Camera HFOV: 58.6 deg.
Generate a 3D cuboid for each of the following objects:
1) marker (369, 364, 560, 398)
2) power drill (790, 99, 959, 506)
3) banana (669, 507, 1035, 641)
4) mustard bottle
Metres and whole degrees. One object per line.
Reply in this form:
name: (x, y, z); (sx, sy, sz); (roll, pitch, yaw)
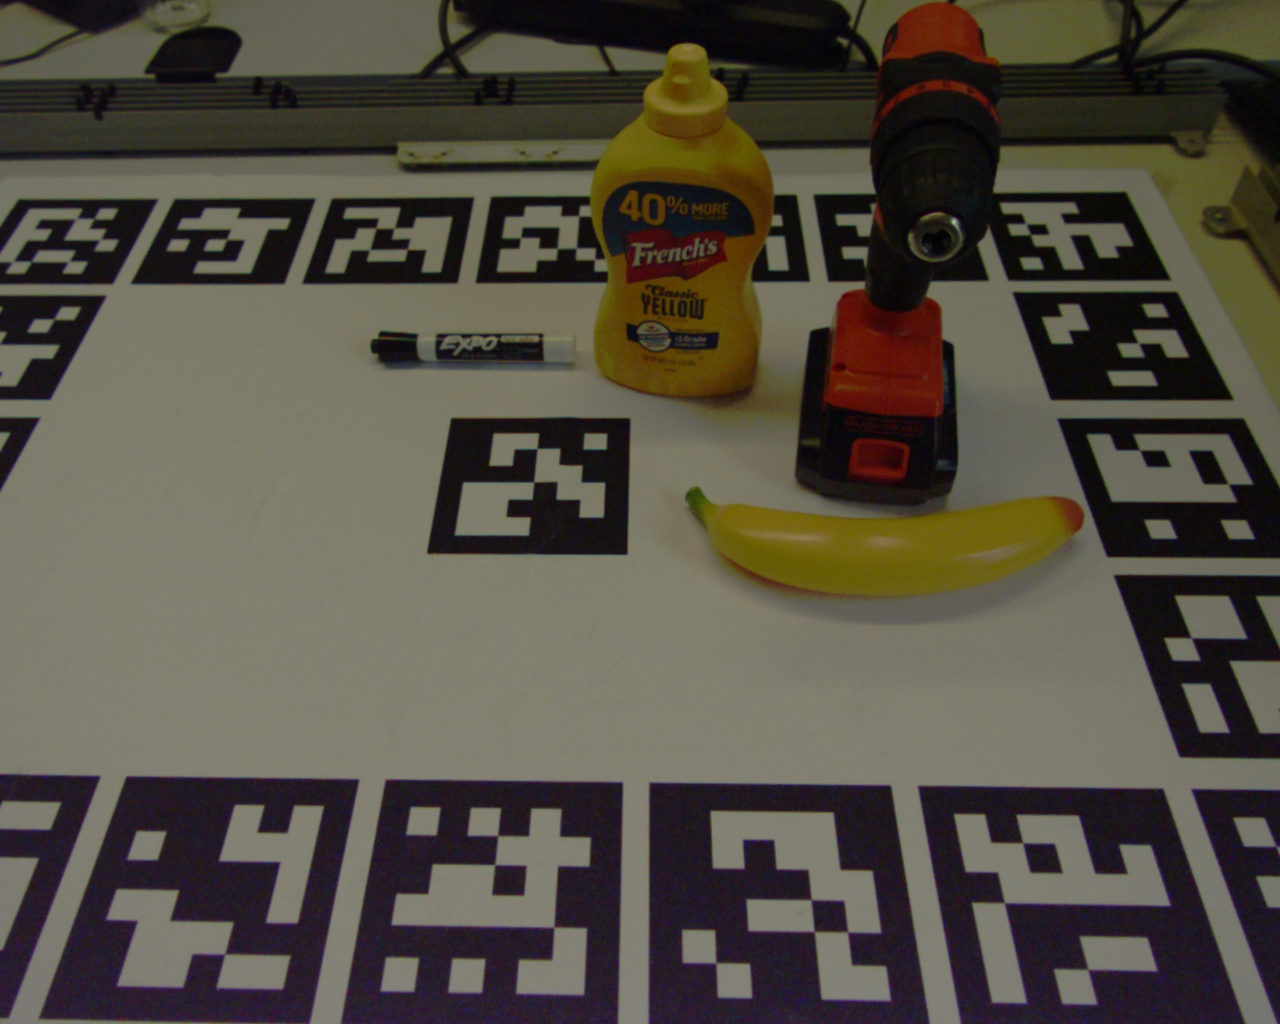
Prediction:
marker: (-0.112, -0.084, 0.725); (0.121, 0.019, 0.020); (1, 50, 3)
power drill: (0.119, -0.094, 0.591); (0.057, 0.186, 0.184); (11, 48, 8)
banana: (0.109, 0.035, 0.606); (0.198, 0.038, 0.074); (5, 51, 8)
mustard bottle: (0.014, -0.132, 0.649); (0.096, 0.191, 0.058); (9, 50, 7)
